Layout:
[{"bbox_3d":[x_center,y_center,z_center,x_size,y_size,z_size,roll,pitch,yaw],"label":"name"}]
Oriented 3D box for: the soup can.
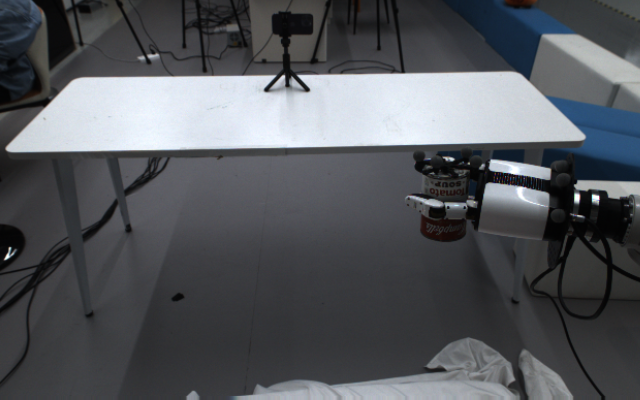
[{"bbox_3d":[0.183,0.000,0.708,0.067,0.101,0.067,-3,26,2],"label":"soup can"}]
